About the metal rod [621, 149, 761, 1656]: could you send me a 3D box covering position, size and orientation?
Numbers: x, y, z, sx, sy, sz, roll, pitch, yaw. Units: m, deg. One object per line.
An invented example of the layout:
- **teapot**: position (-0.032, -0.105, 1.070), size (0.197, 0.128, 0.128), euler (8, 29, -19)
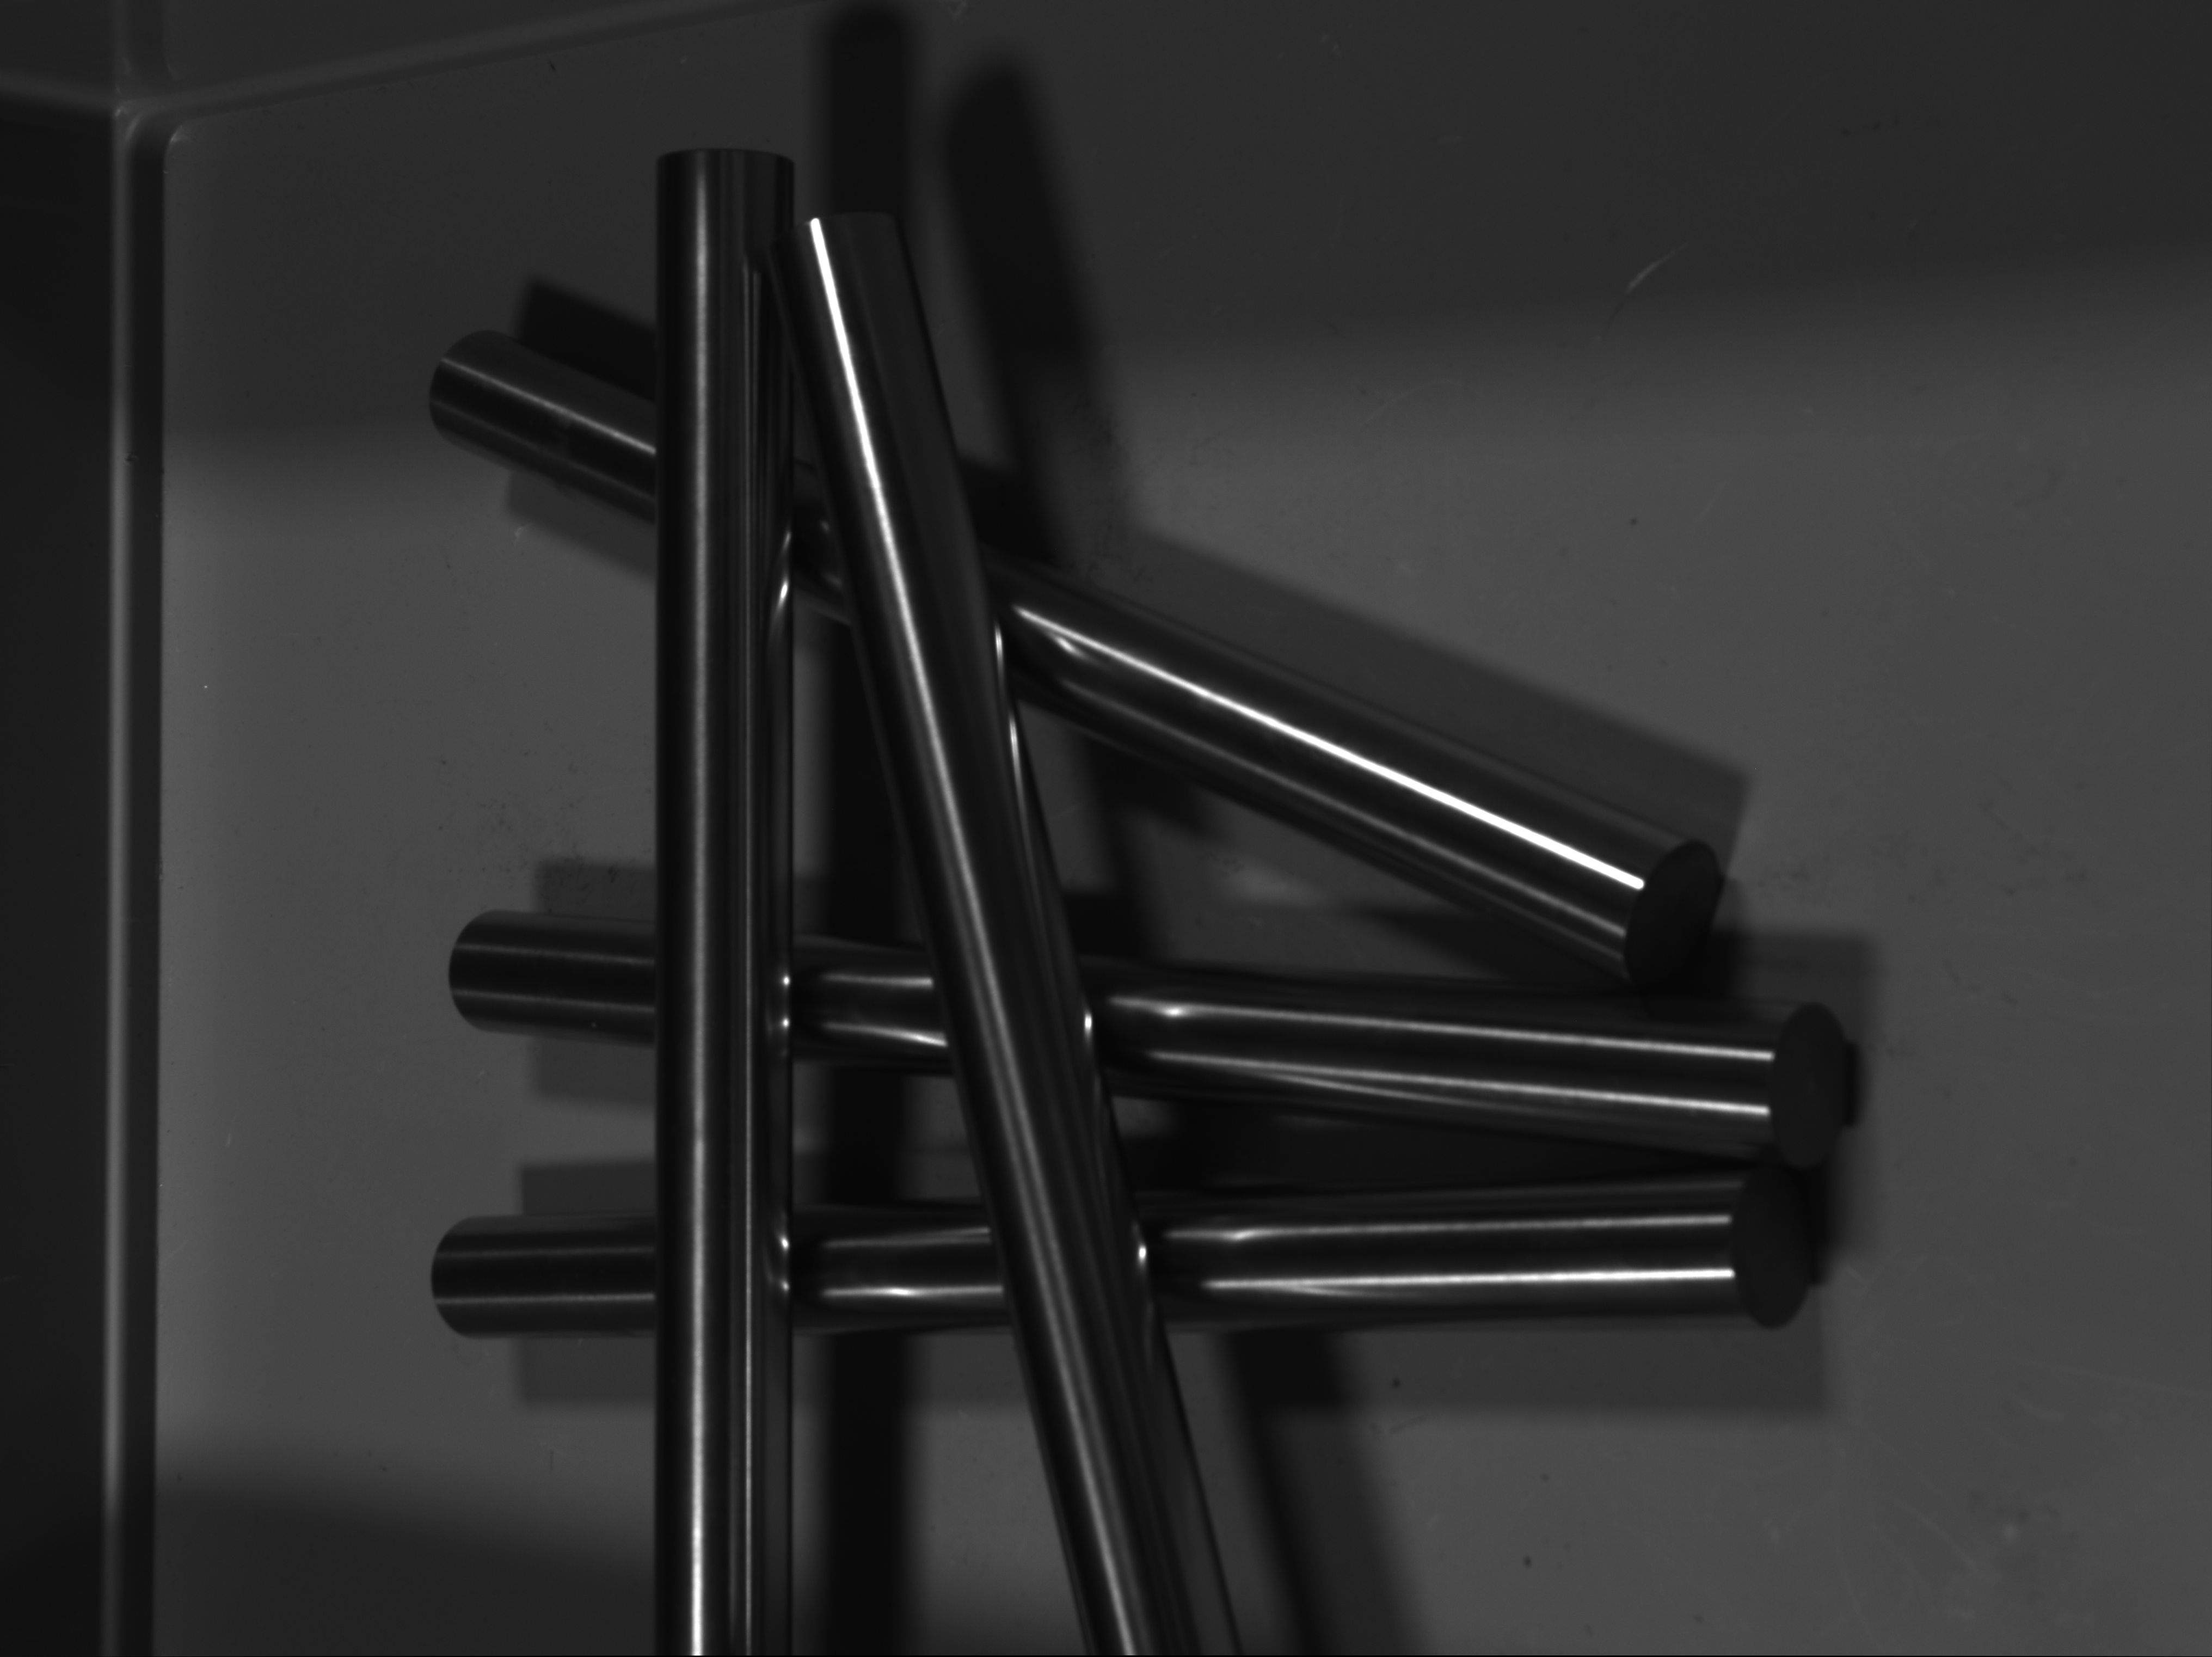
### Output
- **metal rod**: position (-0.075, 0.029, 0.663), size (0.025, 0.025, 0.300), euler (0, 90, 39)

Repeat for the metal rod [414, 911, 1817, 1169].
- **metal rod**: position (-0.015, 0.034, 0.646), size (0.299, 0.025, 0.025), euler (2, 91, 39)

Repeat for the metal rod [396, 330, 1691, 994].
- **metal rod**: position (-0.026, -0.038, 0.655), size (0.299, 0.025, 0.025), euler (25, 106, 37)

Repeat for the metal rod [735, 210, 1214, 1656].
- **metal rod**: position (-0.018, 0.039, 0.617), size (0.025, 0.025, 0.300), euler (-22, 76, 37)

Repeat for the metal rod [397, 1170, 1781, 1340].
- **metal rod**: position (-0.019, 0.078, 0.650), size (0.299, 0.025, 0.025), euler (-7, 86, 39)
